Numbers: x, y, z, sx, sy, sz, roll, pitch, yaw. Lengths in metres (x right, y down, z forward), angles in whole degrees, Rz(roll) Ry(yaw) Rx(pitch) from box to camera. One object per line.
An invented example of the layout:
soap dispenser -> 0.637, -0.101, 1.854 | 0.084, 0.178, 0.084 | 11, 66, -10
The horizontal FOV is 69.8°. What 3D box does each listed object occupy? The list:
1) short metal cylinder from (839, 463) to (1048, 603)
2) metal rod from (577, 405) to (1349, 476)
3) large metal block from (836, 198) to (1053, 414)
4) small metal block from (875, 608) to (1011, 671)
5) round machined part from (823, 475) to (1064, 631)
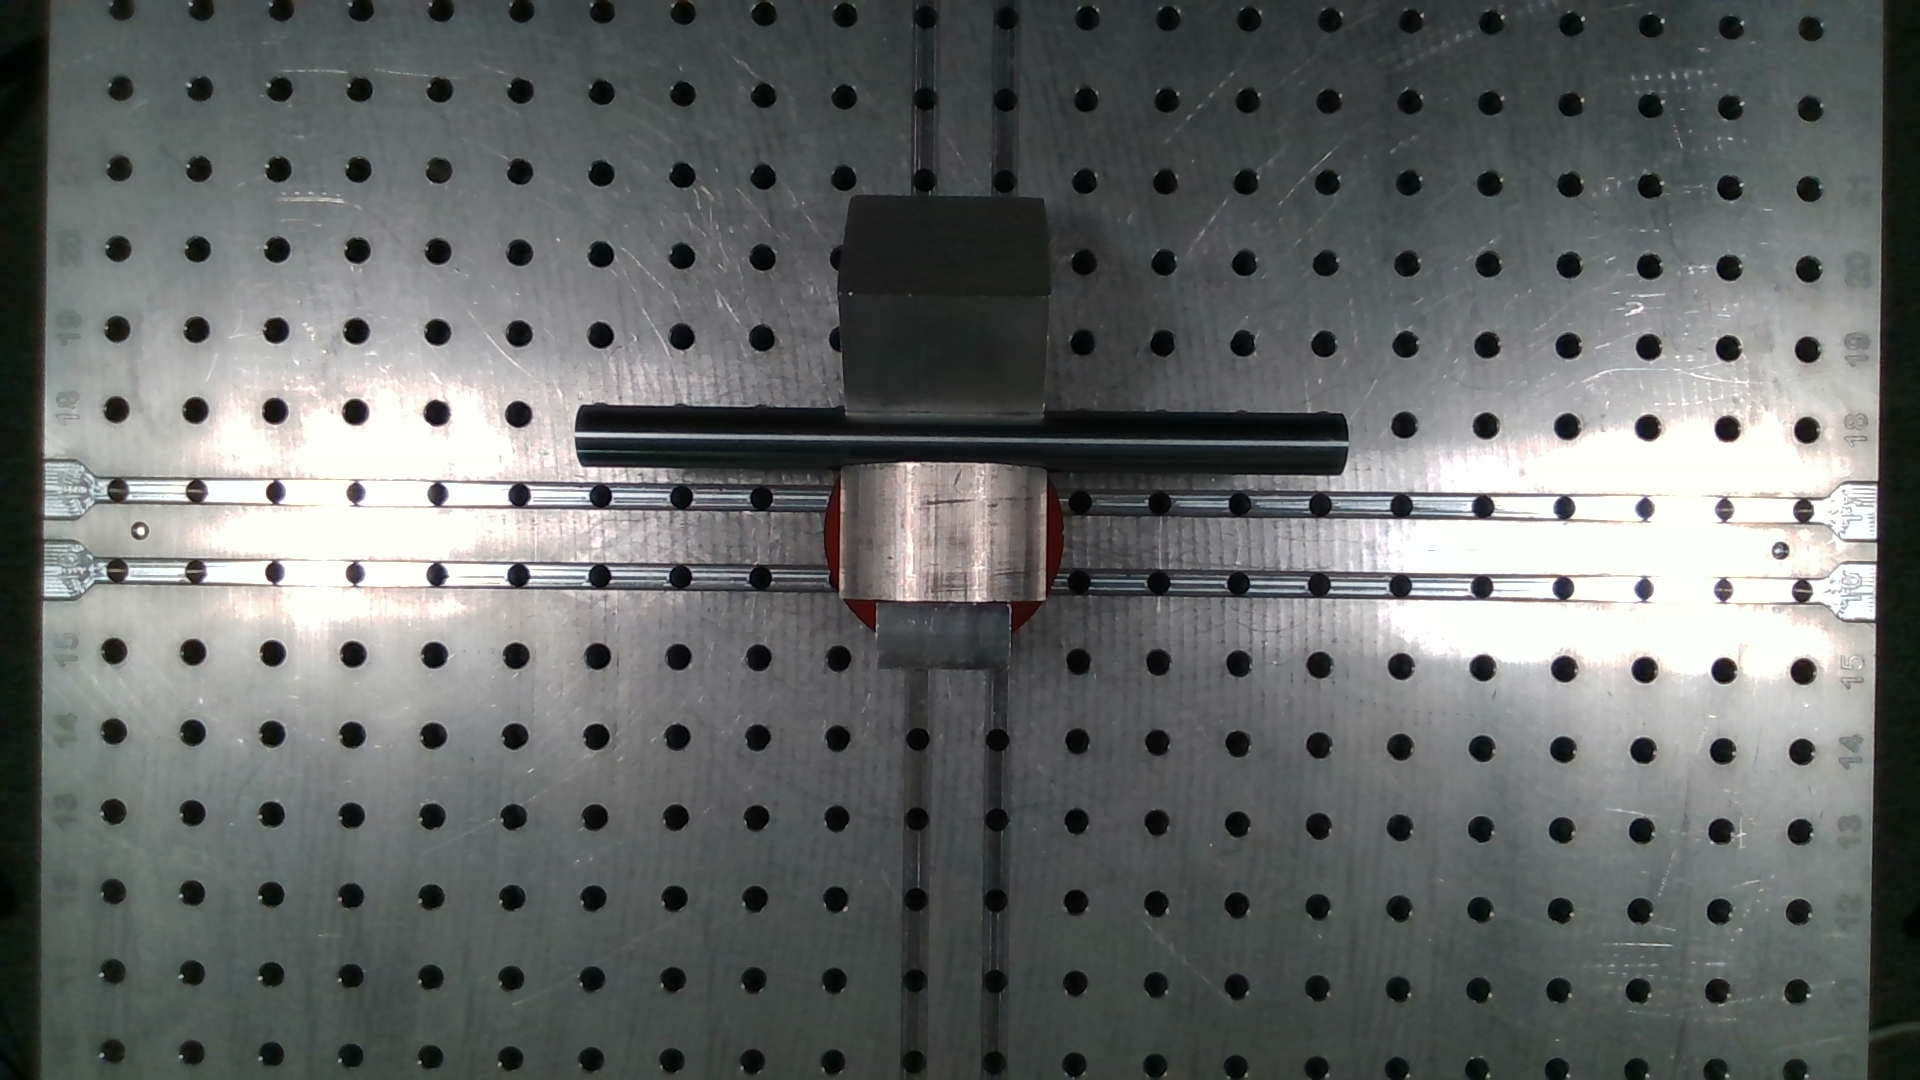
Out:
short metal cylinder -> -0.006, -0.002, 0.532 | 0.080, 0.080, 0.050 | 1, 90, 0
metal rod -> 0.001, -0.039, 0.547 | 0.300, 0.025, 0.025 | 1, 90, 0
large metal block -> -0.006, -0.095, 0.555 | 0.080, 0.080, 0.050 | 1, 131, 0
small metal block -> -0.006, 0.036, 0.535 | 0.050, 0.050, 0.025 | 1, 90, 0
round machined part -> -0.007, -0.002, 0.580 | 0.098, 0.042, 0.098 | 0, 90, 0
